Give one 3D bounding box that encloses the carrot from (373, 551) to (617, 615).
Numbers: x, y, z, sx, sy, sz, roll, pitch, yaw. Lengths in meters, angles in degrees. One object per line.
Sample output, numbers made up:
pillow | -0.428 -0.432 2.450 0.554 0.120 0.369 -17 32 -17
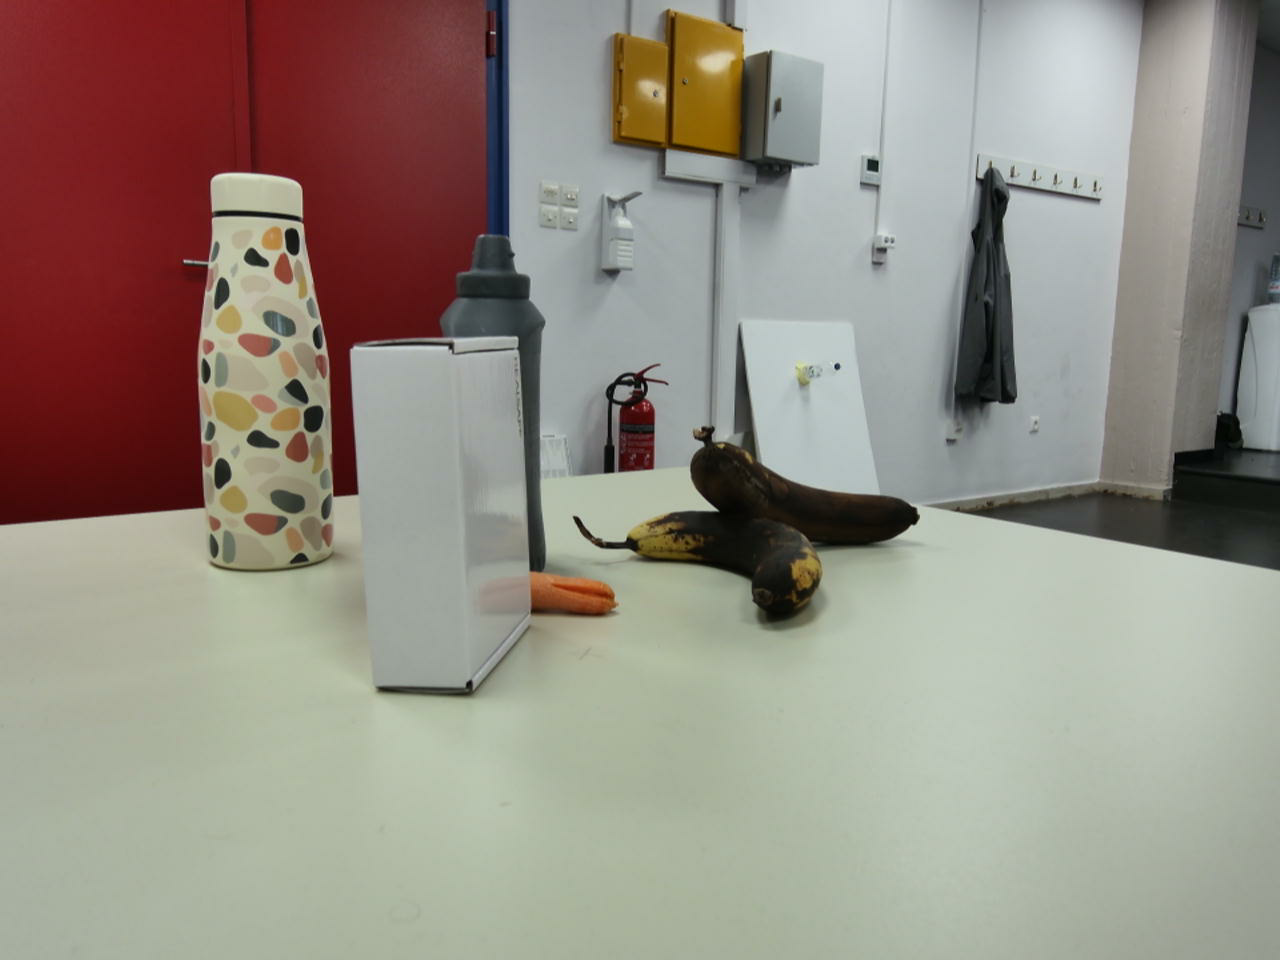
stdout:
carrot | -0.080 0.056 0.549 0.136 0.032 0.030 2 7 9
